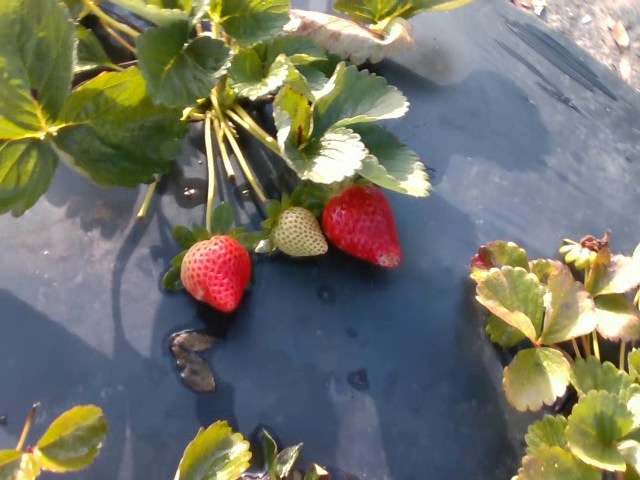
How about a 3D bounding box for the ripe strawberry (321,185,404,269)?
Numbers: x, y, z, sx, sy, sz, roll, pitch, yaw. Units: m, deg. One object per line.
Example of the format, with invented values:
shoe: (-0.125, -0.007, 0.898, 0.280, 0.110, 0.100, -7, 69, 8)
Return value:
ripe strawberry: (0.029, -0.006, 0.375, 0.048, 0.065, 0.050, -38, -9, 21)
